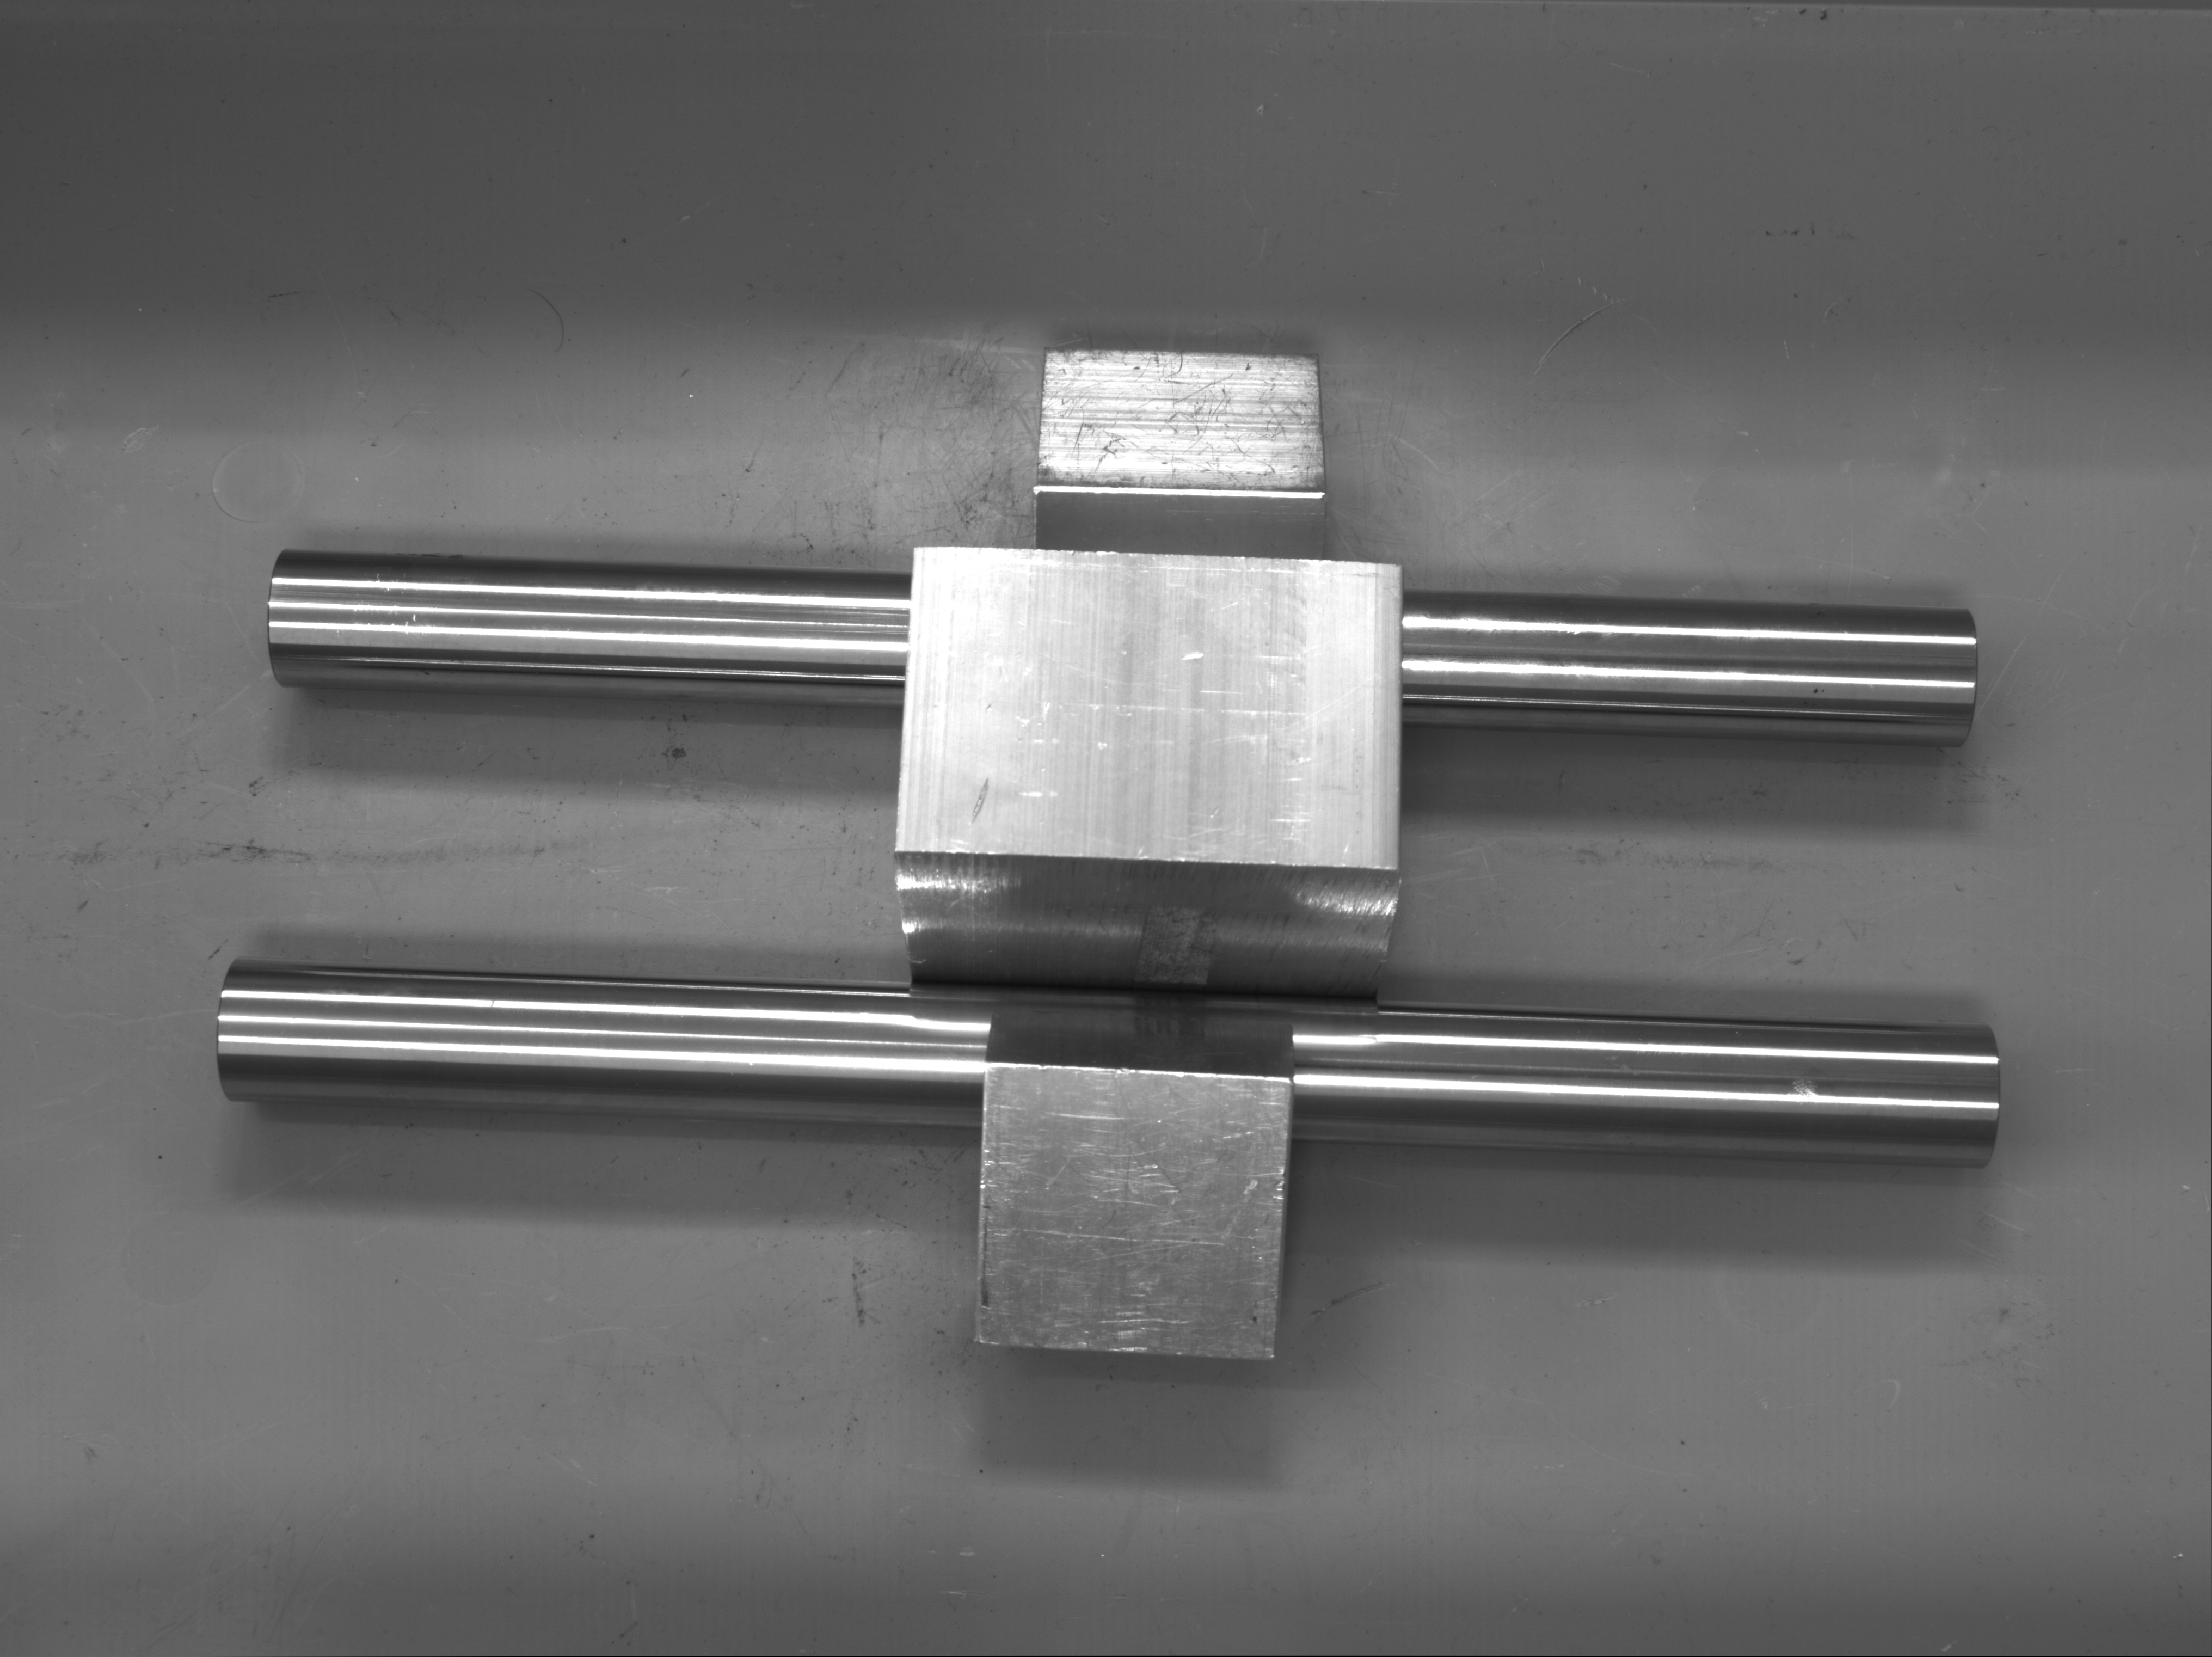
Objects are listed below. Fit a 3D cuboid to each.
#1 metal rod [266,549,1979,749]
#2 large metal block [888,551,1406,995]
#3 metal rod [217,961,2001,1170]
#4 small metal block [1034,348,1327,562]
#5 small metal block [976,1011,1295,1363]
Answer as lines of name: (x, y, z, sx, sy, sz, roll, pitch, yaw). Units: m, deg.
metal rod: (0.003, -0.032, 0.655, 0.300, 0.025, 0.025, 2, 70, 1)
large metal block: (0.007, -0.006, 0.616, 0.080, 0.080, 0.050, 2, 70, 1)
metal rod: (0.000, 0.041, 0.630, 0.300, 0.025, 0.025, 2, 70, 1)
small metal block: (0.013, -0.062, 0.655, 0.050, 0.025, 0.050, 1, 35, 0)
small metal block: (0.005, 0.059, 0.610, 0.050, 0.025, 0.050, 3, 107, 1)
